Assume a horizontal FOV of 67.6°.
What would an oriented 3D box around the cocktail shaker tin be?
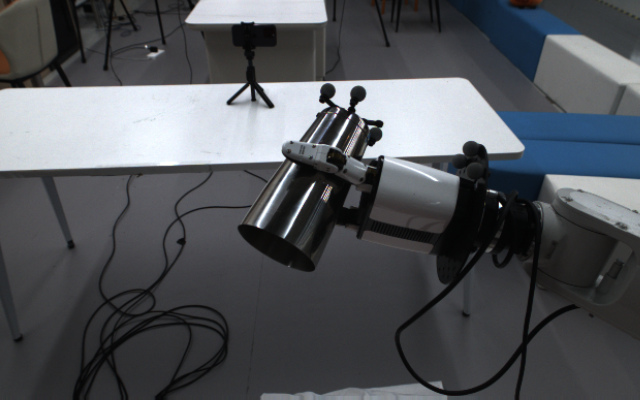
[{"bbox_3d":[-0.005,-0.020,0.532,0.093,0.093,0.170,18,66,21],"label":"cocktail shaker tin"}]
